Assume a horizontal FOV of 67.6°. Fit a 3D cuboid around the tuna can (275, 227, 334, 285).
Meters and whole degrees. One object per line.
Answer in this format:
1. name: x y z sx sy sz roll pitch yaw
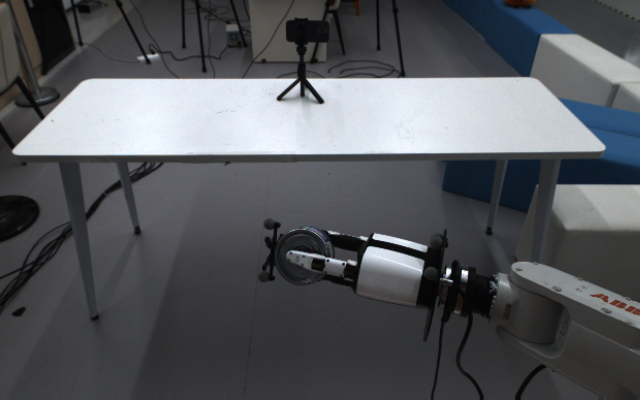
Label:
1. tuna can: -0.021 0.081 0.712 0.085 0.085 0.034 10 2 12
